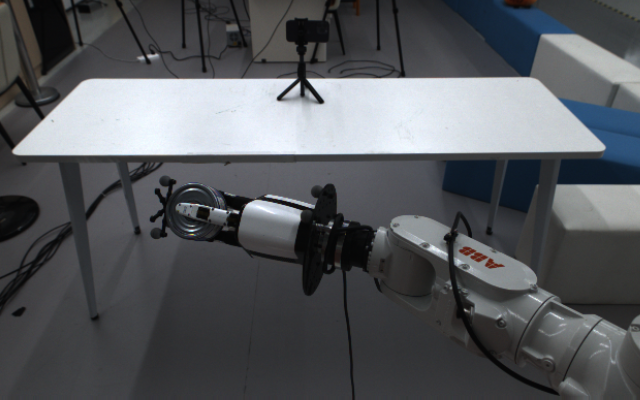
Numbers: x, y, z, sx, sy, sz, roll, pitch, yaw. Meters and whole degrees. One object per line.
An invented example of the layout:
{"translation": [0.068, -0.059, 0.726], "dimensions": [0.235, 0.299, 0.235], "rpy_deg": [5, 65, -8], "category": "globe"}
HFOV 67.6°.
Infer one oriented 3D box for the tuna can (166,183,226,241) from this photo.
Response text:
{"translation": [-0.181, 0.021, 0.713], "dimensions": [0.085, 0.085, 0.034], "rpy_deg": [10, -5, 11], "category": "tuna can"}
